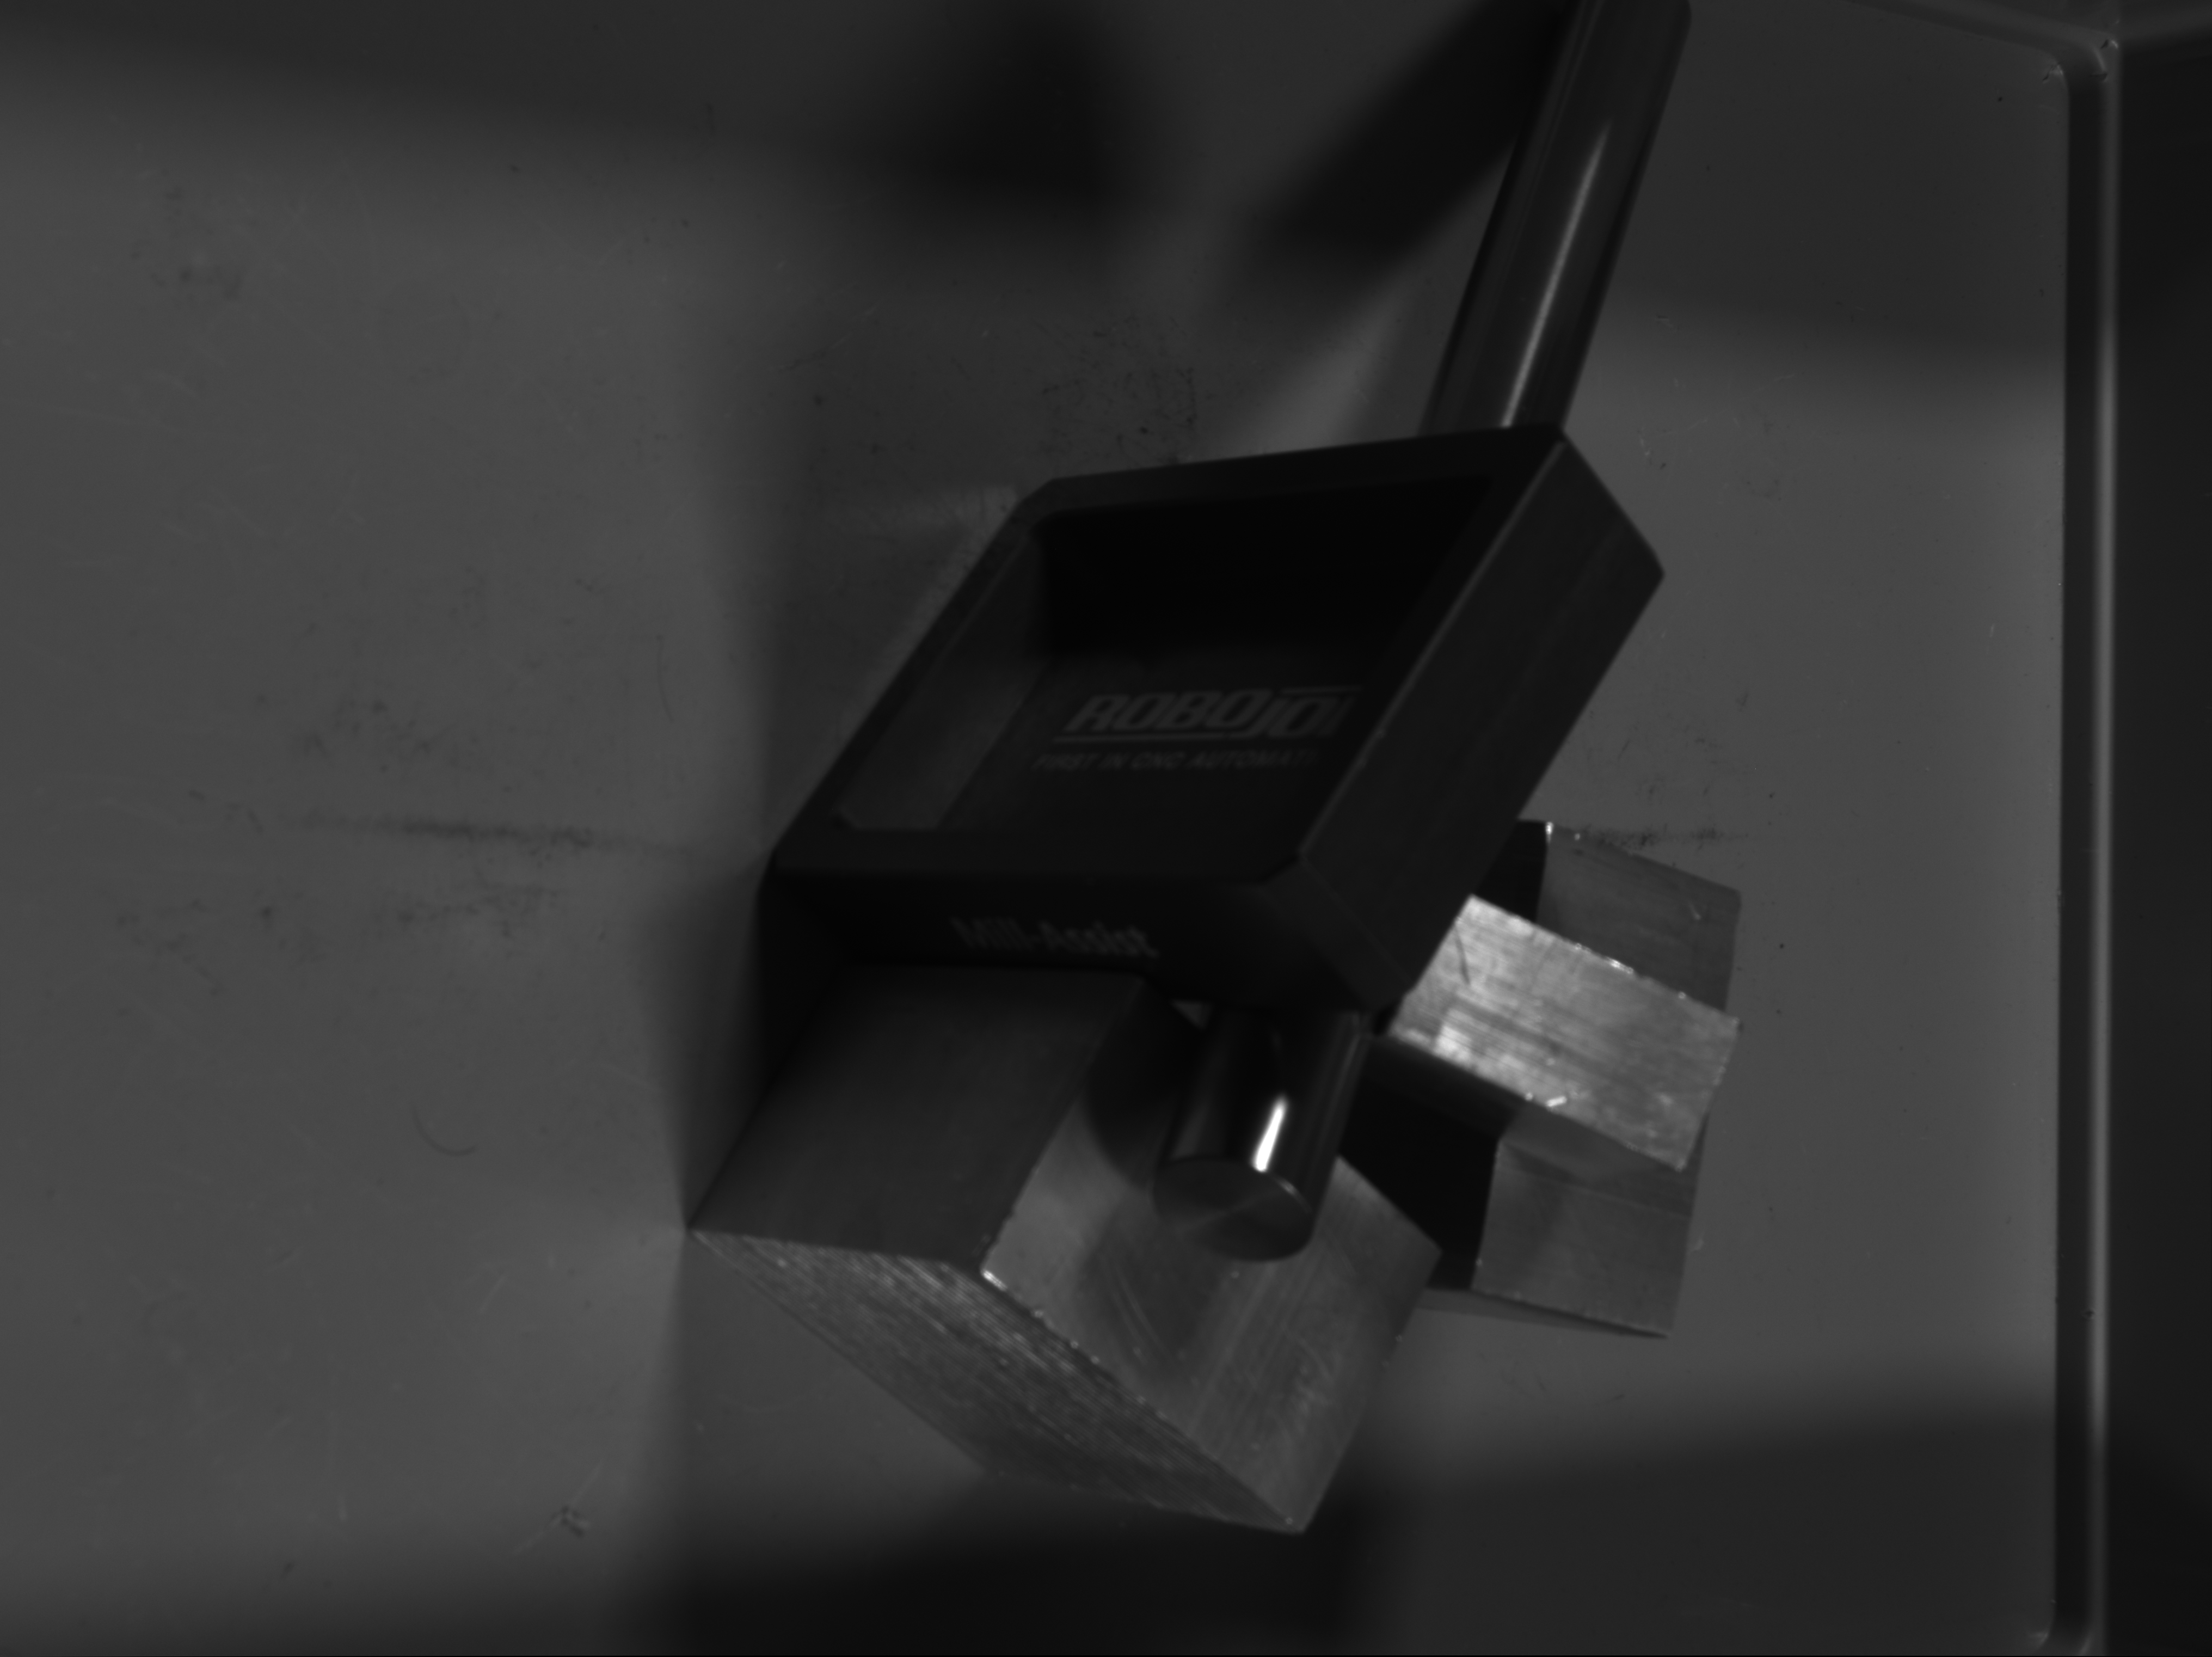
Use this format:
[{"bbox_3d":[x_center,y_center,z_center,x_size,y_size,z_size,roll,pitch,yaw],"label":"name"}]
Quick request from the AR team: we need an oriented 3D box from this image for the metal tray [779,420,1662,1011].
[{"bbox_3d":[0.015,-0.018,0.580,0.030,0.130,0.090,47,63,-28],"label":"metal tray"}]

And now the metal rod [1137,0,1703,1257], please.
[{"bbox_3d":[0.061,-0.053,0.629,0.025,0.025,0.300,49,44,-29],"label":"metal rod"}]

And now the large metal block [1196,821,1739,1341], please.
[{"bbox_3d":[0.060,0.044,0.651,0.050,0.080,0.080,17,79,-38],"label":"large metal block"}]

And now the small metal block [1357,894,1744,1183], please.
[{"bbox_3d":[0.066,0.033,0.579,0.050,0.050,0.025,26,80,-4],"label":"small metal block"}]

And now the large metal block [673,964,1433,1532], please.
[{"bbox_3d":[-0.009,0.067,0.595,0.080,0.080,0.050,44,64,-31],"label":"large metal block"}]
